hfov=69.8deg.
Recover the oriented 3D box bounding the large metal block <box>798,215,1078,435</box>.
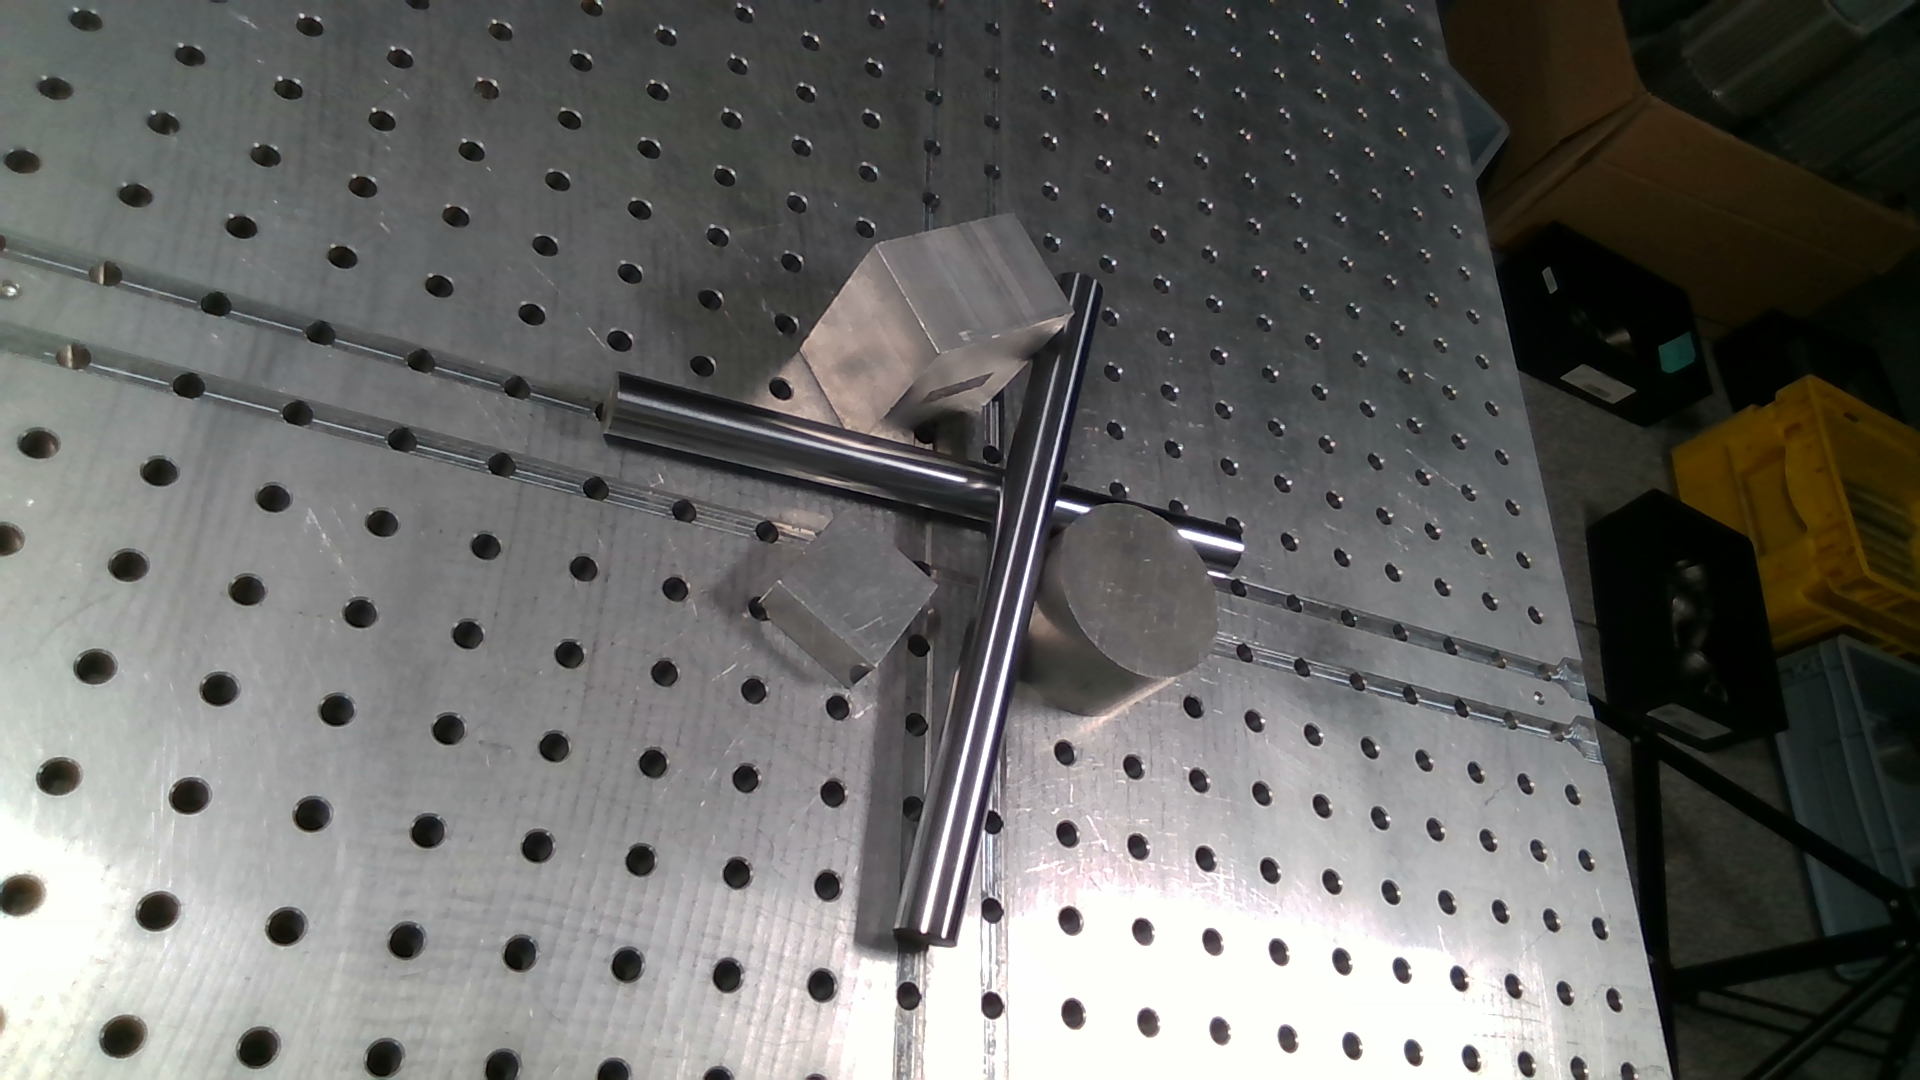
[{"bbox_3d":[-0.011,-0.089,0.593,0.080,0.080,0.050,-24,79,-38],"label":"large metal block"}]

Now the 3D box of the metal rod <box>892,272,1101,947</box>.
[{"bbox_3d":[0.020,0.015,0.569,0.025,0.025,0.299,24,63,-19],"label":"metal rod"}]

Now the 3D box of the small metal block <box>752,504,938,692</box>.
[{"bbox_3d":[-0.045,0.023,0.550,0.050,0.025,0.050,42,51,-5],"label":"small metal block"}]

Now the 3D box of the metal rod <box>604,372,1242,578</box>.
[{"bbox_3d":[-0.004,-0.024,0.600,0.300,0.025,0.025,13,59,-26],"label":"metal rod"}]

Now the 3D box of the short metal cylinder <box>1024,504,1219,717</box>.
[{"bbox_3d":[0.064,0.031,0.596,0.080,0.050,0.080,14,59,-25],"label":"short metal cylinder"}]
